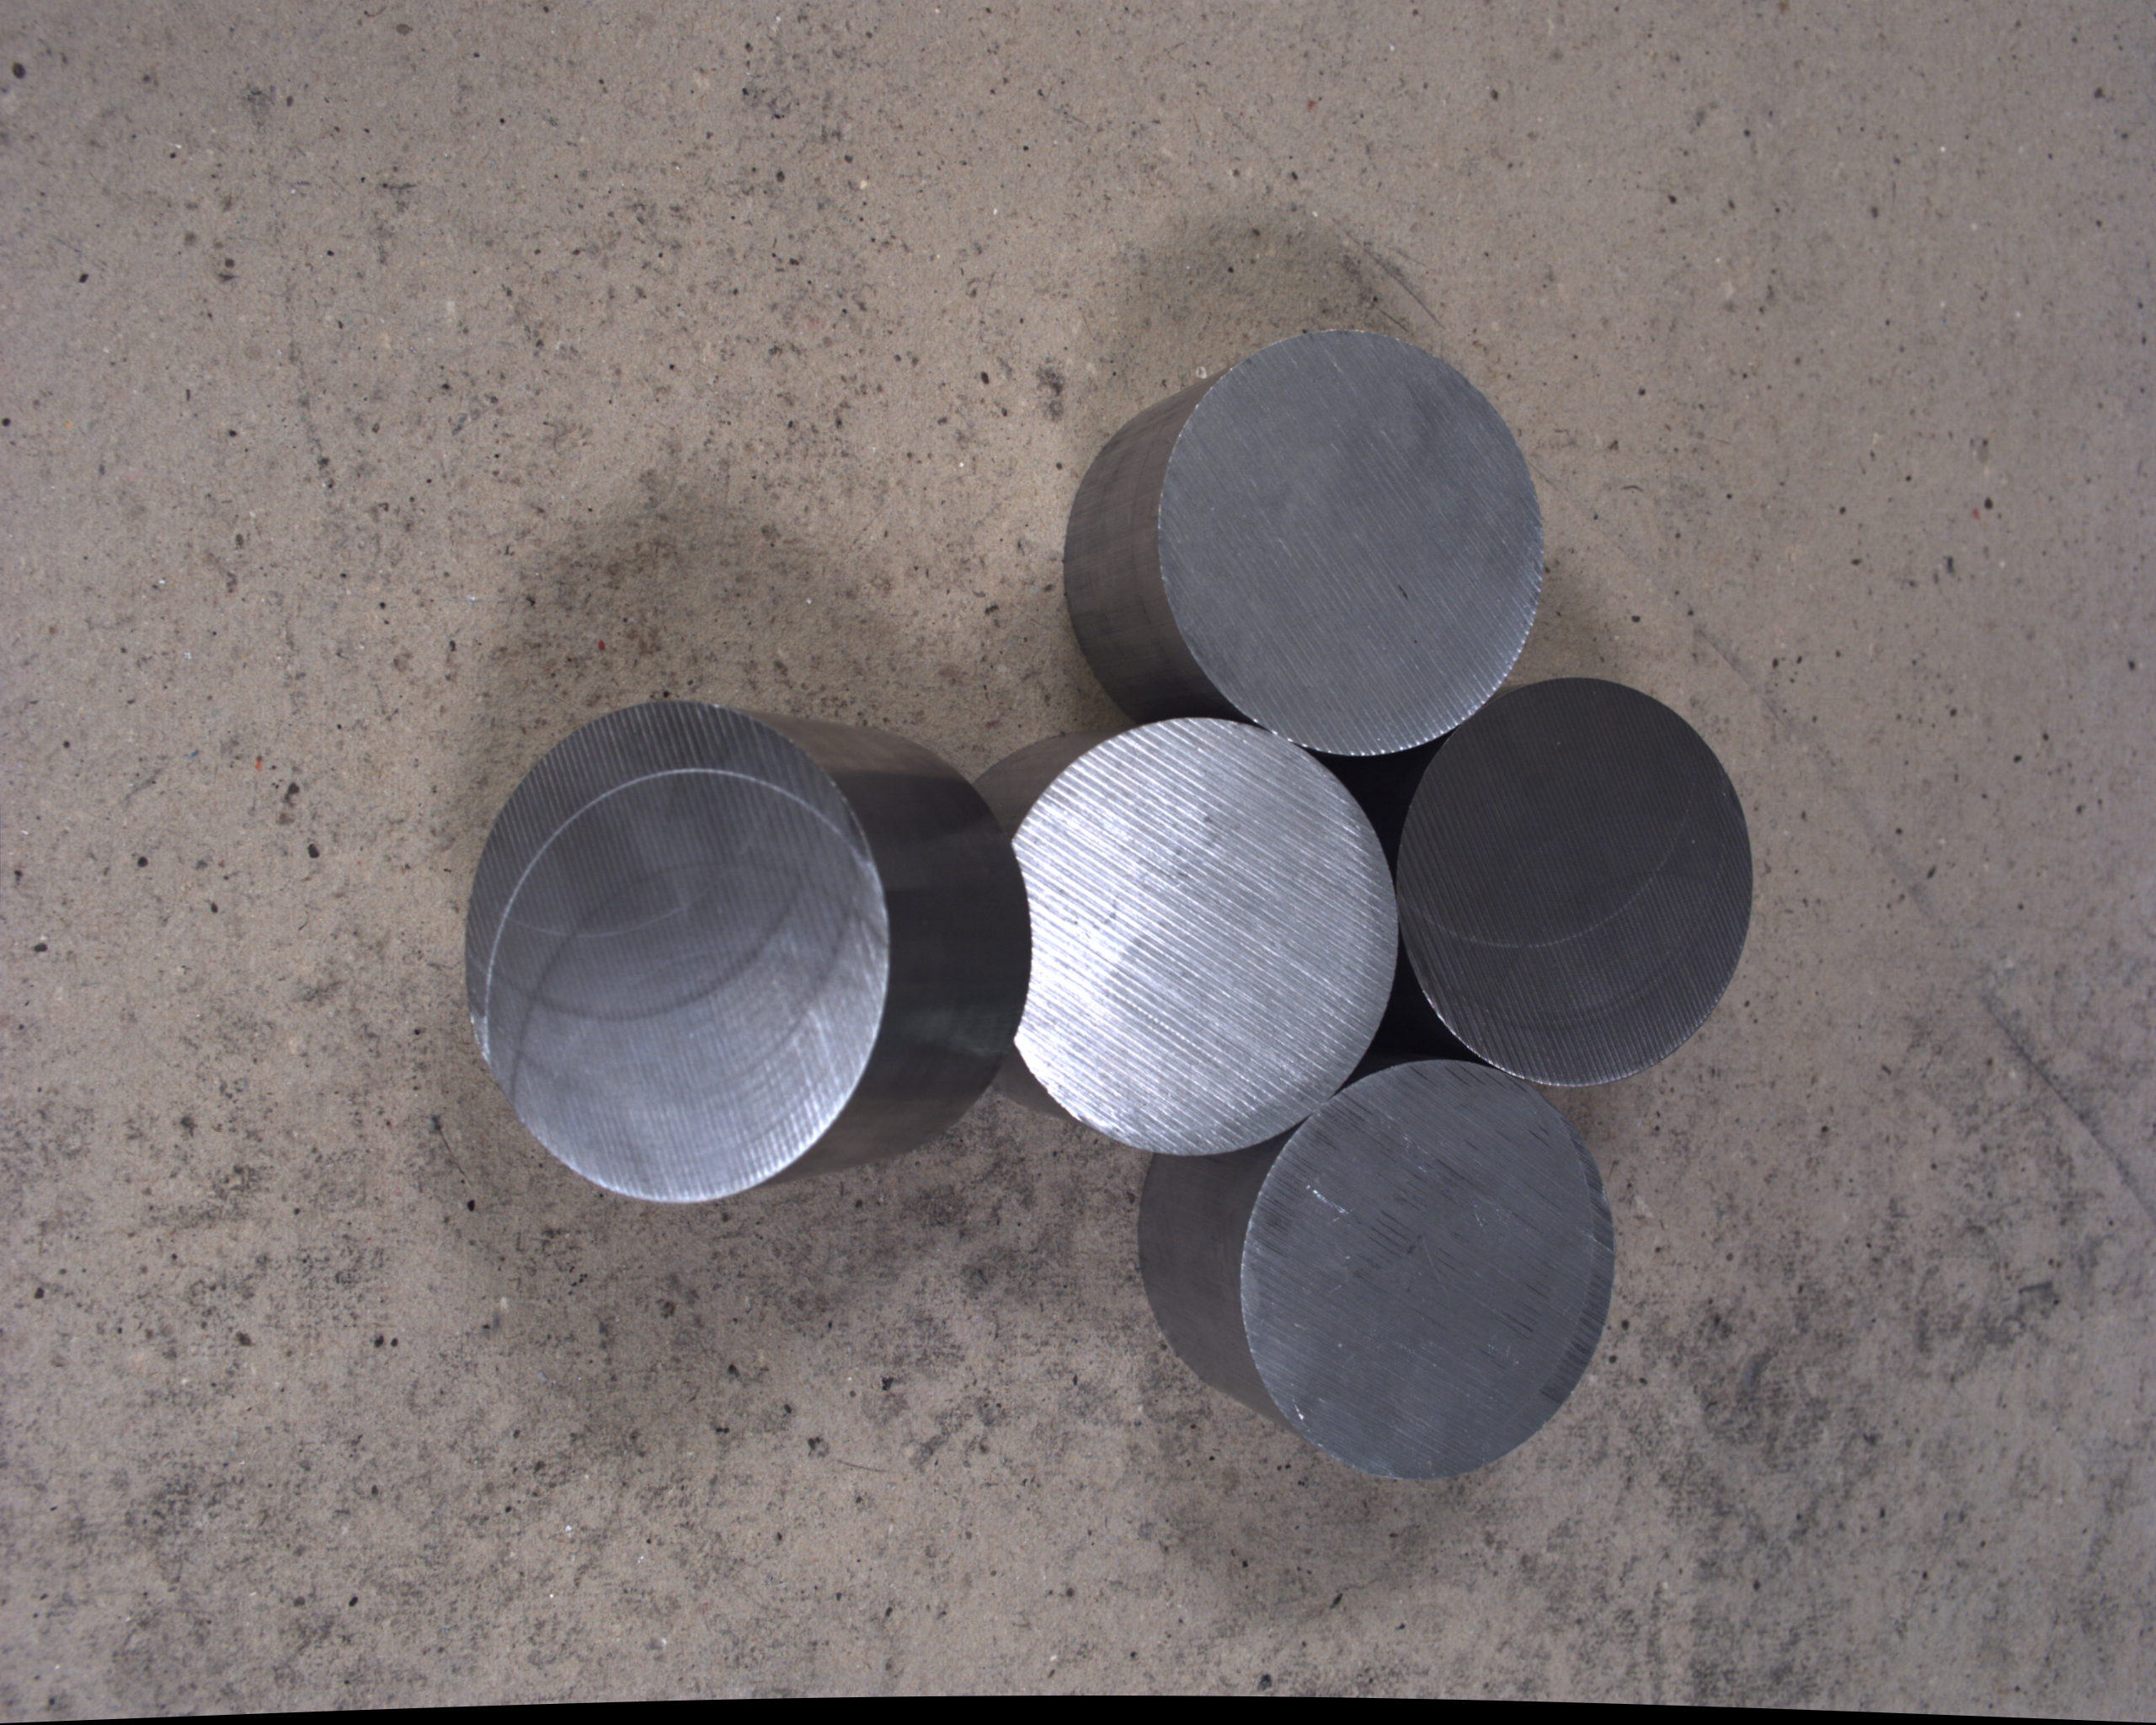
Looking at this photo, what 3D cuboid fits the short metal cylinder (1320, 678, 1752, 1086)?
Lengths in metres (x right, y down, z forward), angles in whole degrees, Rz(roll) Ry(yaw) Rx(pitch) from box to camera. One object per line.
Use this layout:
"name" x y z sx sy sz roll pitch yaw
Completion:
"short metal cylinder" 0.090 0.004 0.430 0.081 0.050 0.080 0 90 -20

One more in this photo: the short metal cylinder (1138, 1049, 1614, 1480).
"short metal cylinder" 0.059 0.077 0.419 0.081 0.050 0.080 0 90 -20

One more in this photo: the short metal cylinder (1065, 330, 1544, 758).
"short metal cylinder" 0.044 -0.060 0.413 0.081 0.050 0.080 0 90 -20

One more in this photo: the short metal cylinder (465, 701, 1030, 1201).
"short metal cylinder" -0.055 0.014 0.355 0.080 0.050 0.080 -1 89 24

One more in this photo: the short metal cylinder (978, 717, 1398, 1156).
"short metal cylinder" 0.014 0.013 0.402 0.081 0.050 0.080 0 90 -20
